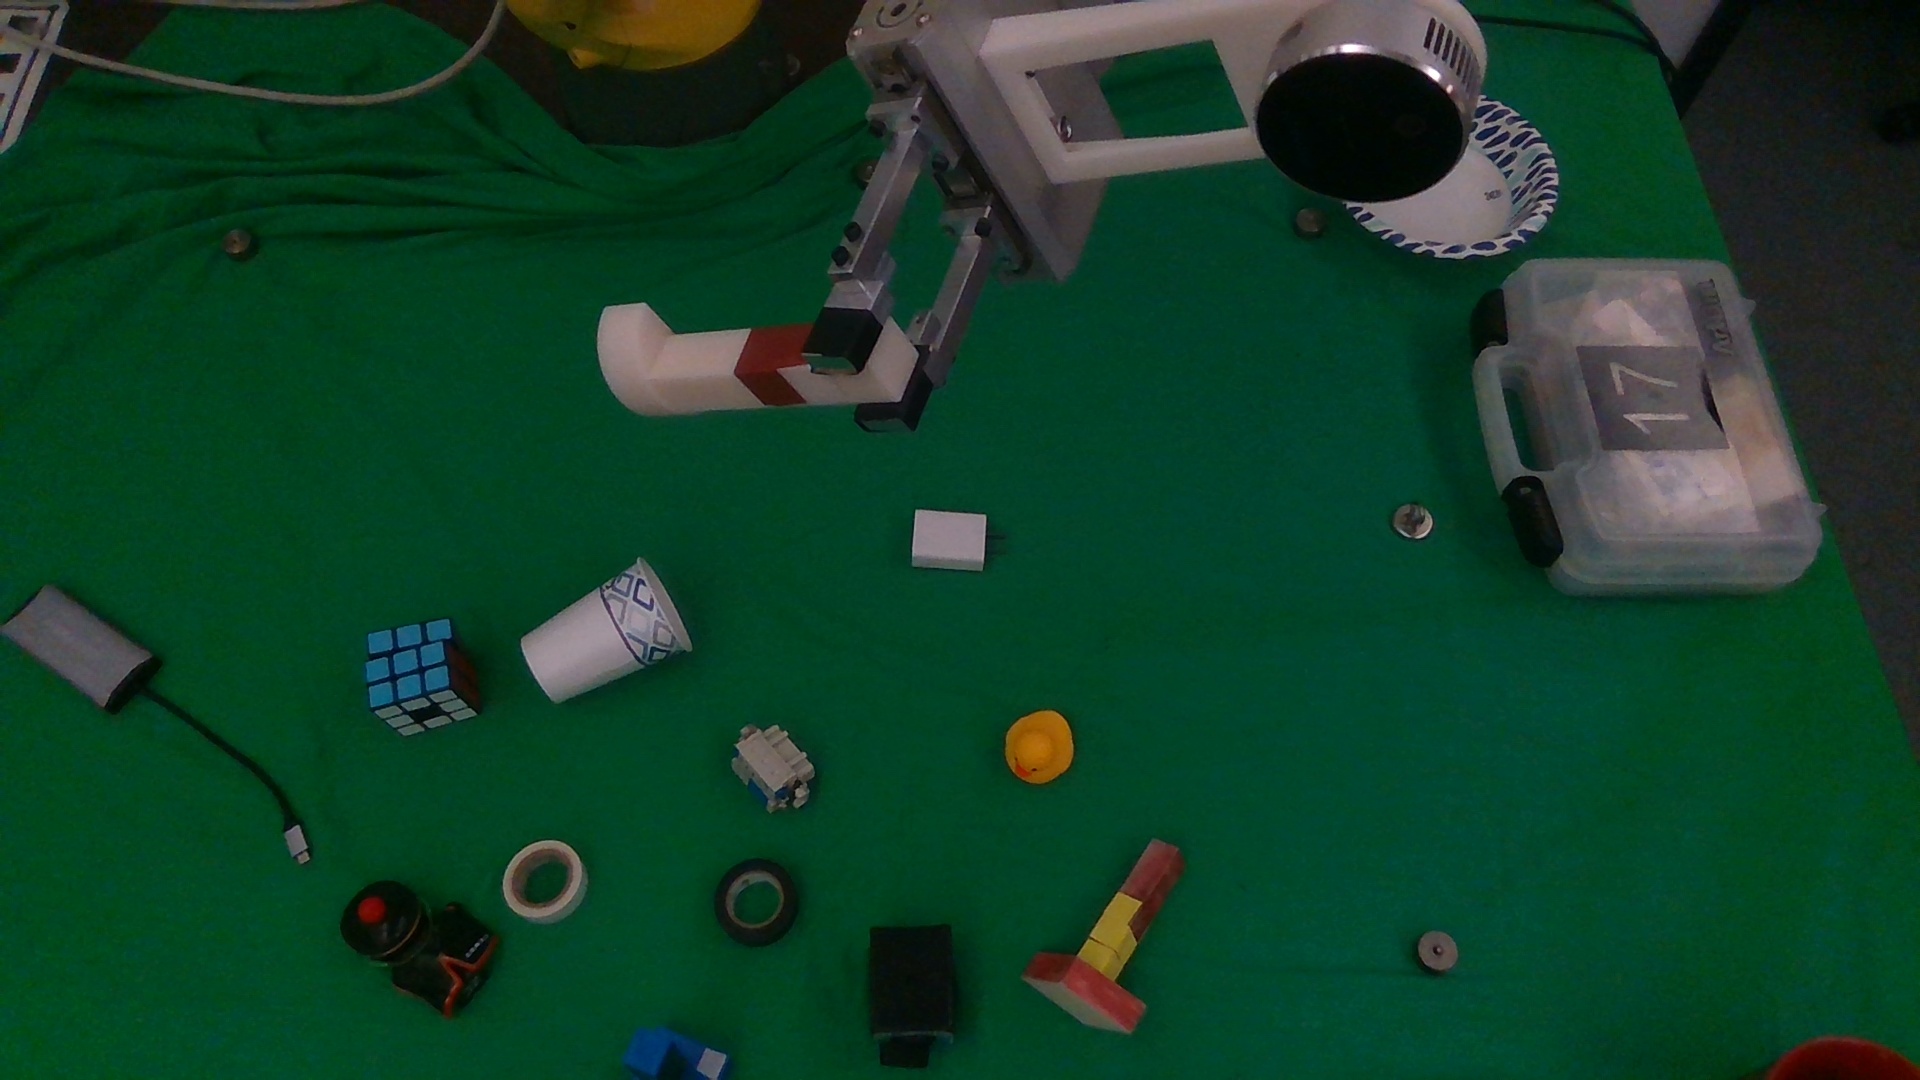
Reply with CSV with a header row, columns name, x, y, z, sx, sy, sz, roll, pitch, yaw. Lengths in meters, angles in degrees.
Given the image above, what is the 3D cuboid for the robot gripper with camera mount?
name,x,y,z,sx,sy,sz,roll,pitch,yaw
robot gripper with camera mount,0.061,-0.112,0.434,0.194,0.118,0.158,1,59,33

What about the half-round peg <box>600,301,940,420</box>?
name,x,y,z,sx,sy,sz,roll,pitch,yaw
half-round peg,-0.065,-0.062,0.475,0.122,0.054,0.031,-1,61,31
